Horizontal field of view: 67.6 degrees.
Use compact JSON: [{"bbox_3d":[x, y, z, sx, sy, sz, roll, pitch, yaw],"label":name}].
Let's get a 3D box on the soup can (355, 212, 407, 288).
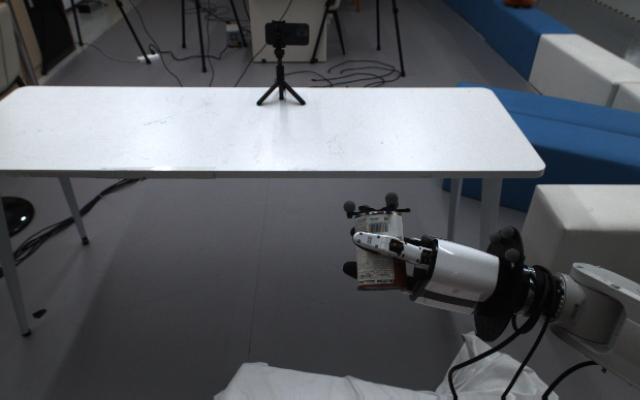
[{"bbox_3d":[0.085,0.070,0.659,0.067,0.067,0.101,-2,76,-5],"label":"soup can"}]
